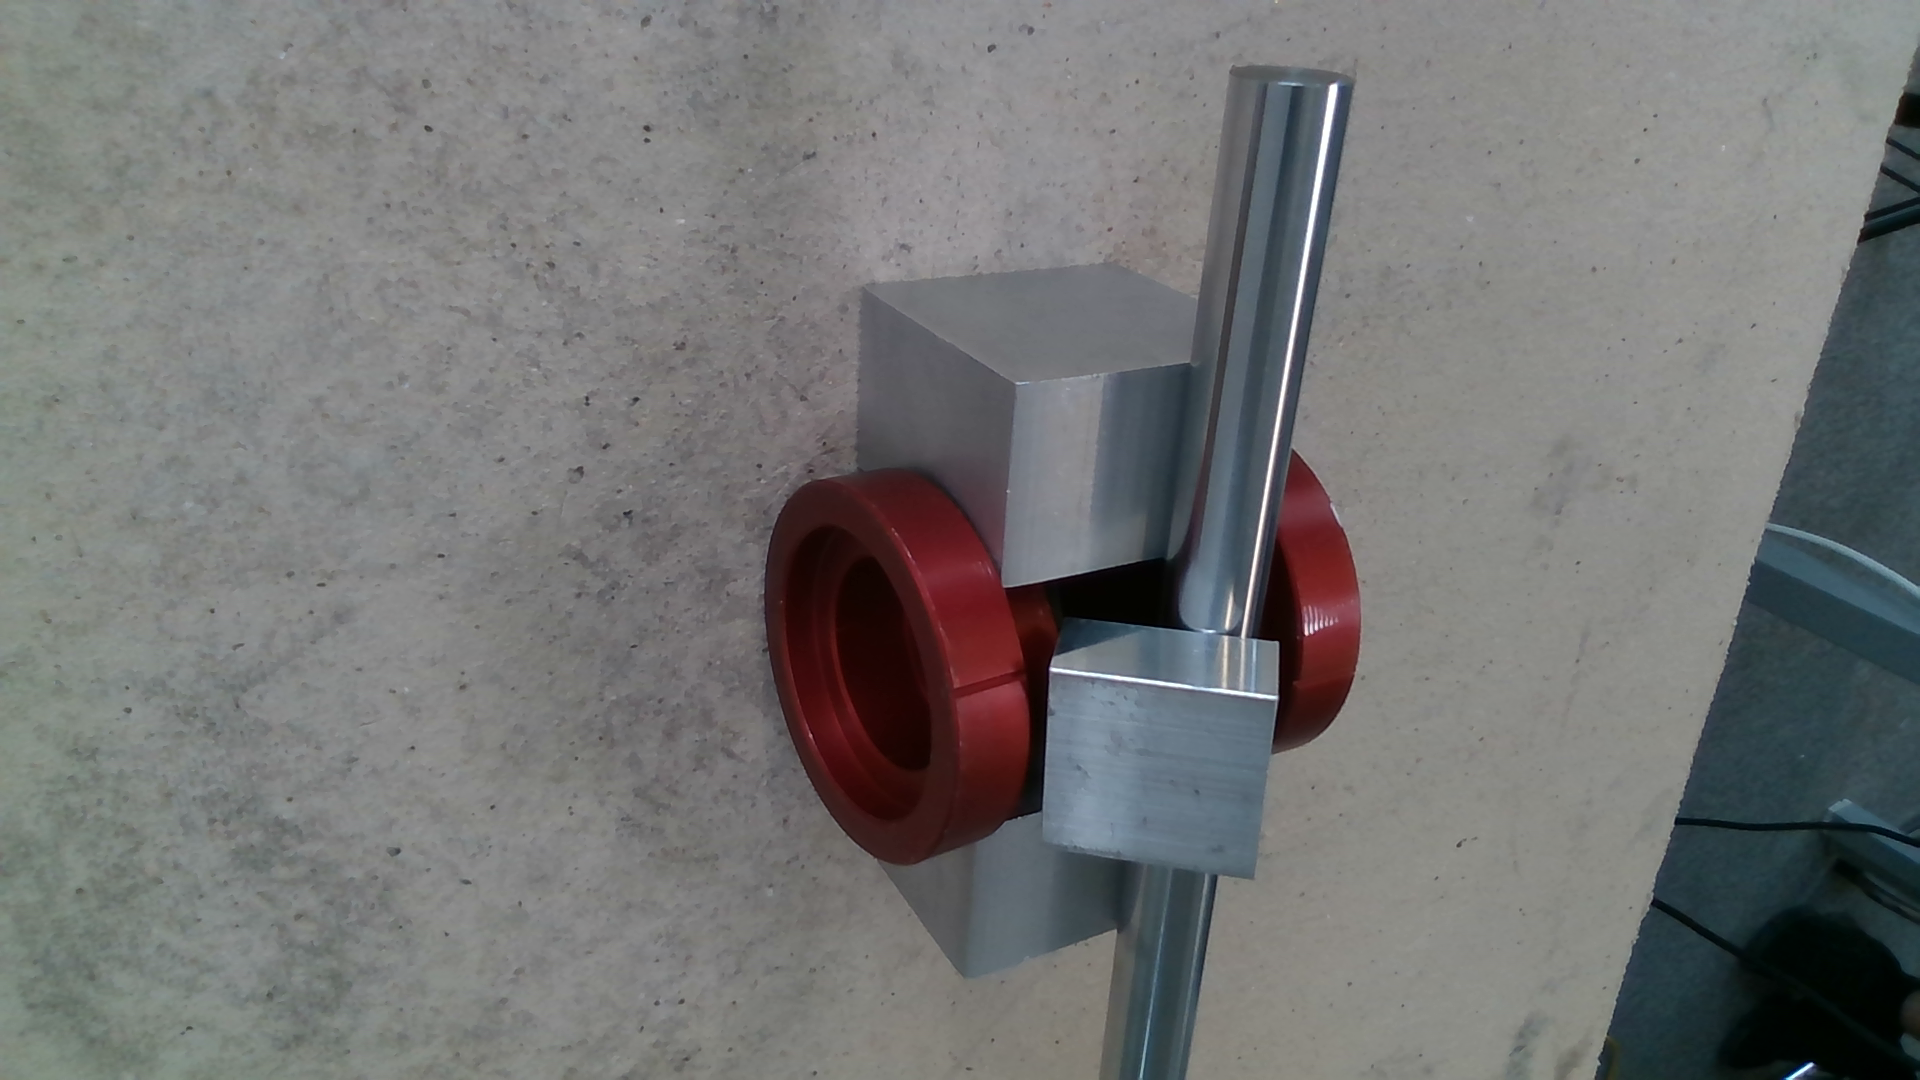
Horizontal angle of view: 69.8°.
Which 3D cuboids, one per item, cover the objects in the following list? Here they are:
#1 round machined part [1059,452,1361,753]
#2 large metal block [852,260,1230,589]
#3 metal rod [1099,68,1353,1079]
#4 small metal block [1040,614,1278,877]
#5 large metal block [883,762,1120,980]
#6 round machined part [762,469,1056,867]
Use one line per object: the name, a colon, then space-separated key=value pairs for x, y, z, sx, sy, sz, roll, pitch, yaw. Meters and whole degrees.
round machined part: x=0.063 y=0.016 z=0.390 sx=0.042 sy=0.098 sz=0.098 roll=-10 pitch=120 yaw=-26
large metal block: x=0.026 y=-0.034 z=0.352 sx=0.080 sy=0.080 sz=0.050 roll=-10 pitch=120 yaw=-27
metal rod: x=0.059 y=0.041 z=0.345 sx=0.025 sy=0.025 sz=0.301 roll=-11 pitch=120 yaw=-26
small metal block: x=0.046 y=0.048 z=0.324 sx=0.050 sy=0.025 sz=0.050 roll=6 pitch=117 yaw=10
large metal block: x=0.019 y=0.072 z=0.405 sx=0.080 sy=0.080 sz=0.050 roll=-11 pitch=120 yaw=-27
round machined part: x=-0.010 y=0.030 z=0.352 sx=0.042 sy=0.098 sz=0.098 roll=-13 pitch=121 yaw=-32
